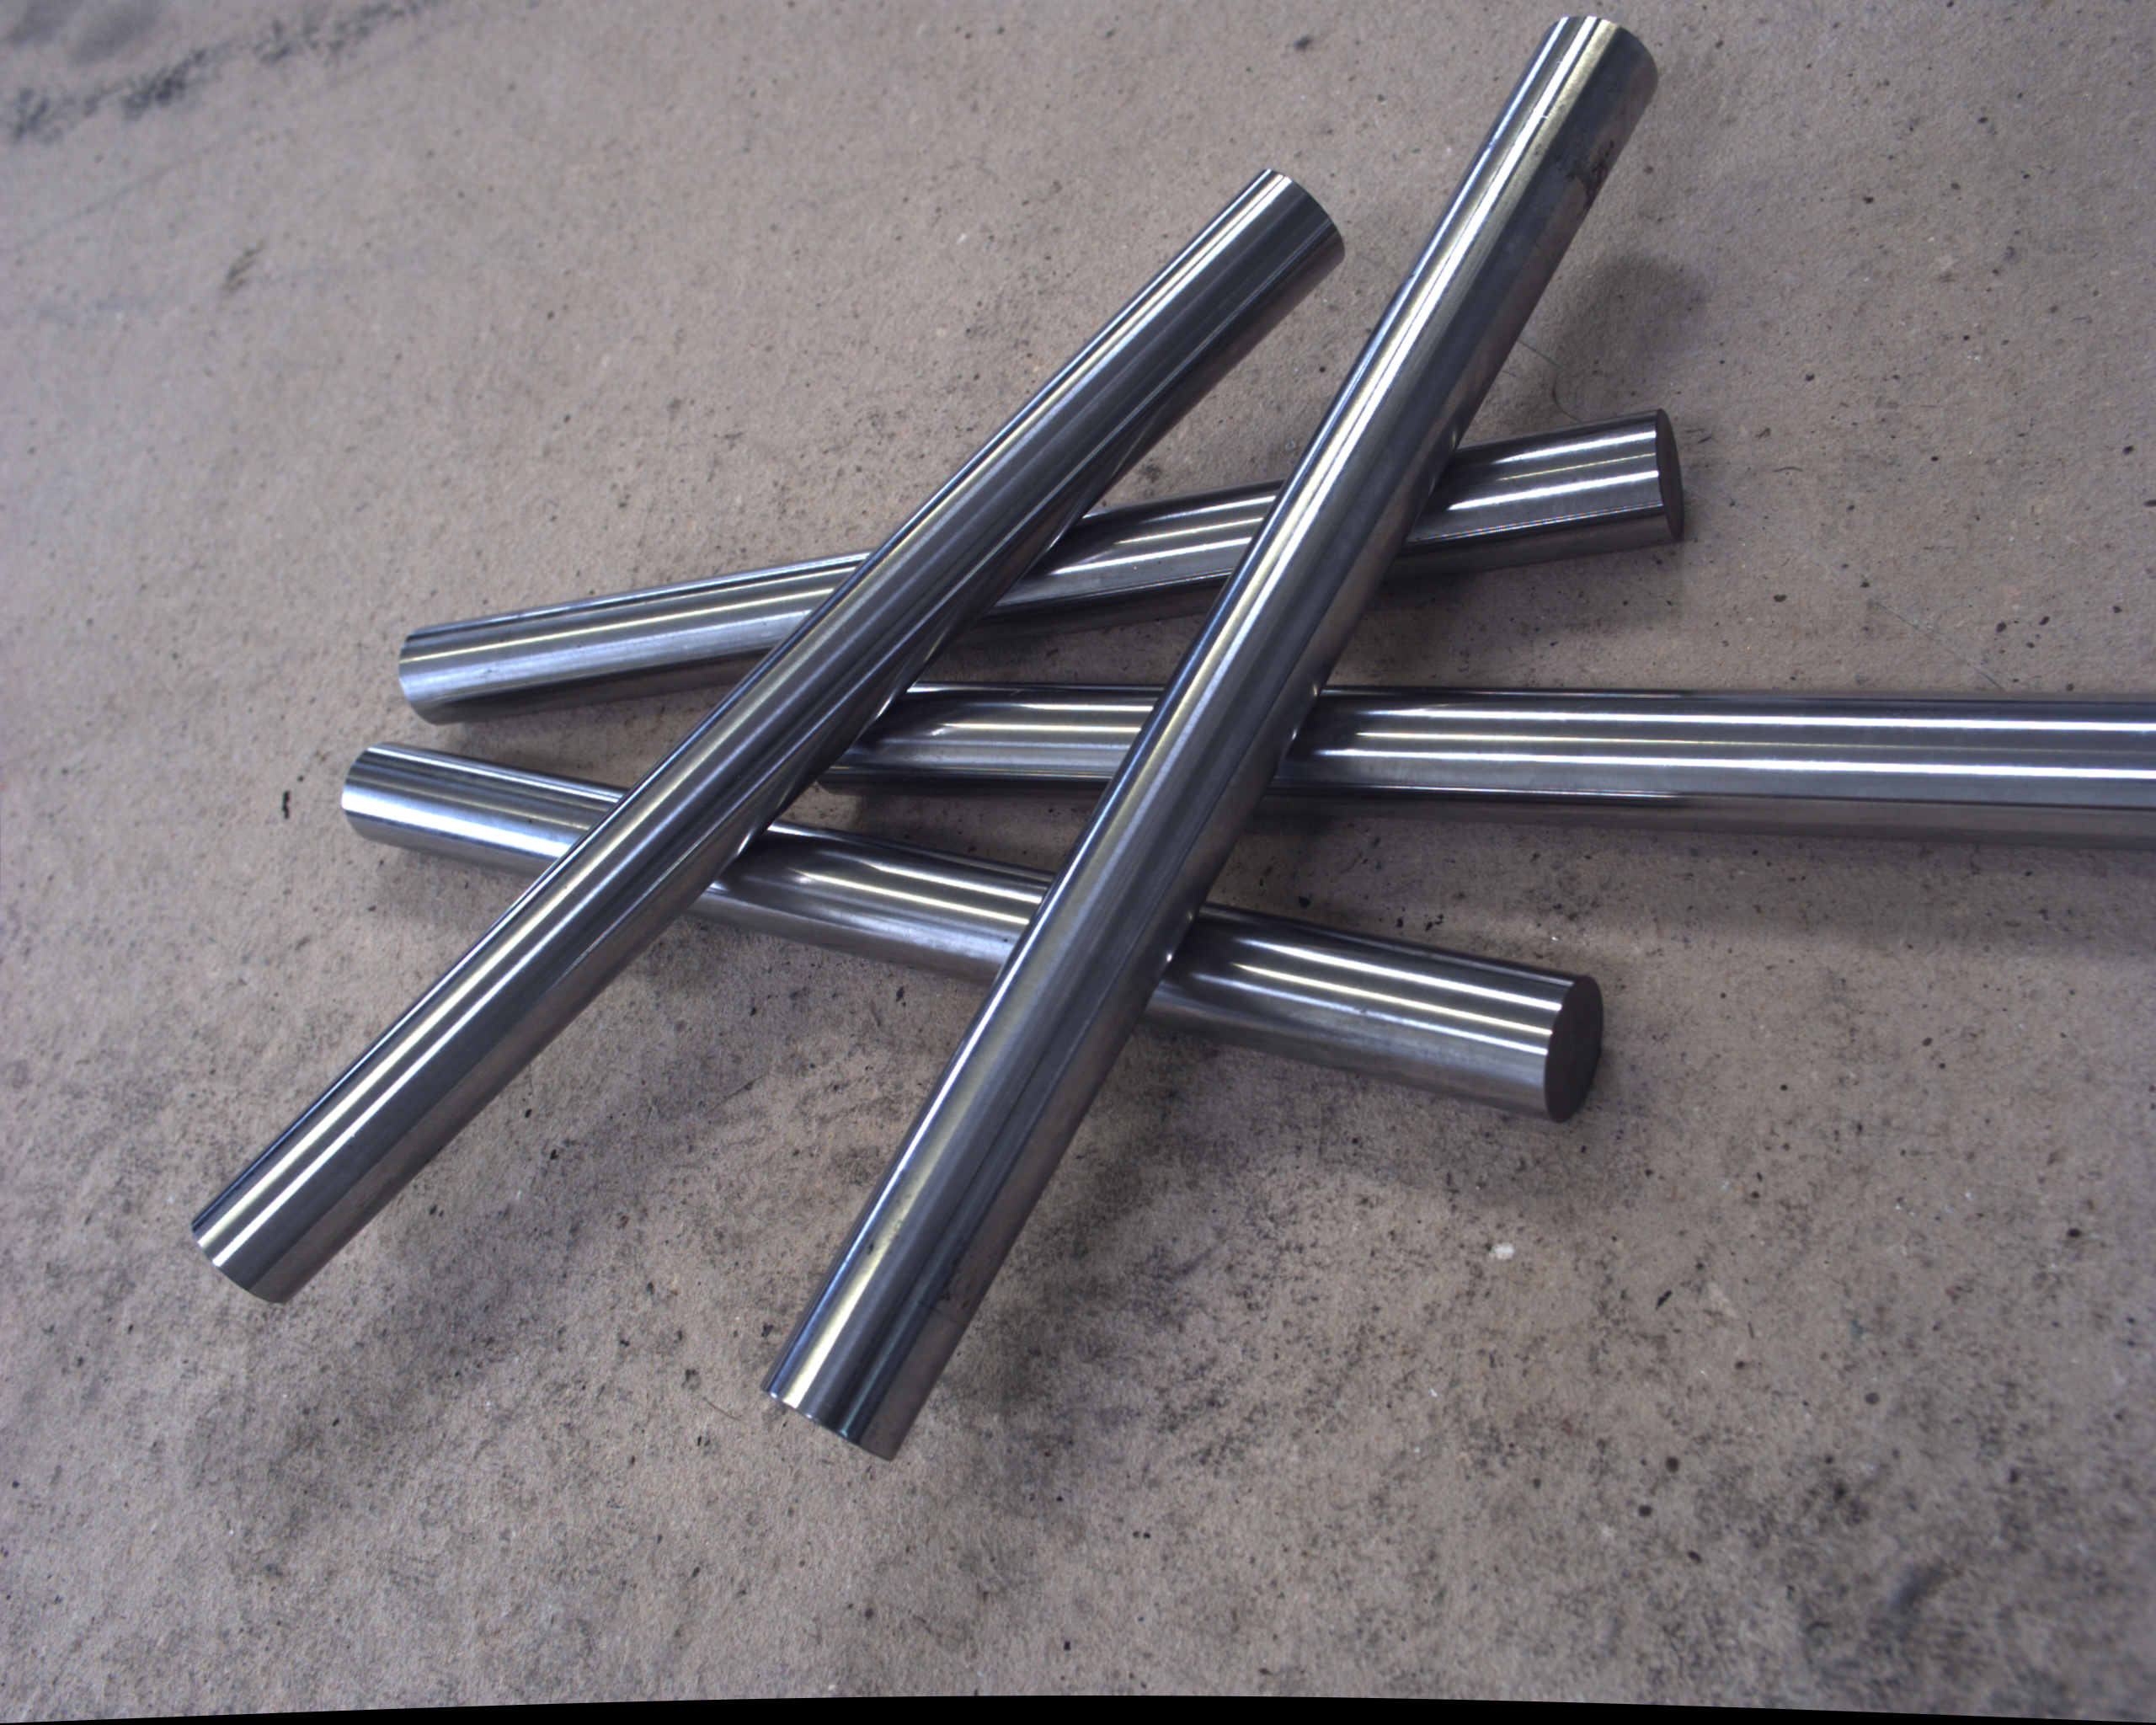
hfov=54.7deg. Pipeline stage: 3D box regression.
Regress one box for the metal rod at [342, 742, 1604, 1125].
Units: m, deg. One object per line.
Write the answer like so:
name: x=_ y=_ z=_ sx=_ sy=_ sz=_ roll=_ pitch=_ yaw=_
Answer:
metal rod: x=-0.043 y=0.007 z=0.424 sx=0.300 sy=0.025 sz=0.025 roll=11 pitch=67 yaw=32

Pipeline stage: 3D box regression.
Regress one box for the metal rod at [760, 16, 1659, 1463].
metal rod: x=0.032 y=-0.034 z=0.378 sx=0.025 sy=0.025 sz=0.300 roll=19 pitch=72 yaw=35

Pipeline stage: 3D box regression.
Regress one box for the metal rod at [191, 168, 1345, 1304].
metal rod: x=-0.060 y=-0.028 z=0.422 sx=0.300 sy=0.025 sz=0.025 roll=-45 pitch=51 yaw=-4

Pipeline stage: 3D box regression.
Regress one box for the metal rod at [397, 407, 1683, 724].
metal rod: x=-0.024 y=-0.060 z=0.455 sx=0.300 sy=0.025 sz=0.025 roll=-6 pitch=59 yaw=25

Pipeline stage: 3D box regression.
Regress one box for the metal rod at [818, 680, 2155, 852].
metal rod: x=0.079 y=-0.019 z=0.376 sx=0.300 sy=0.025 sz=0.025 roll=3 pitch=63 yaw=29
